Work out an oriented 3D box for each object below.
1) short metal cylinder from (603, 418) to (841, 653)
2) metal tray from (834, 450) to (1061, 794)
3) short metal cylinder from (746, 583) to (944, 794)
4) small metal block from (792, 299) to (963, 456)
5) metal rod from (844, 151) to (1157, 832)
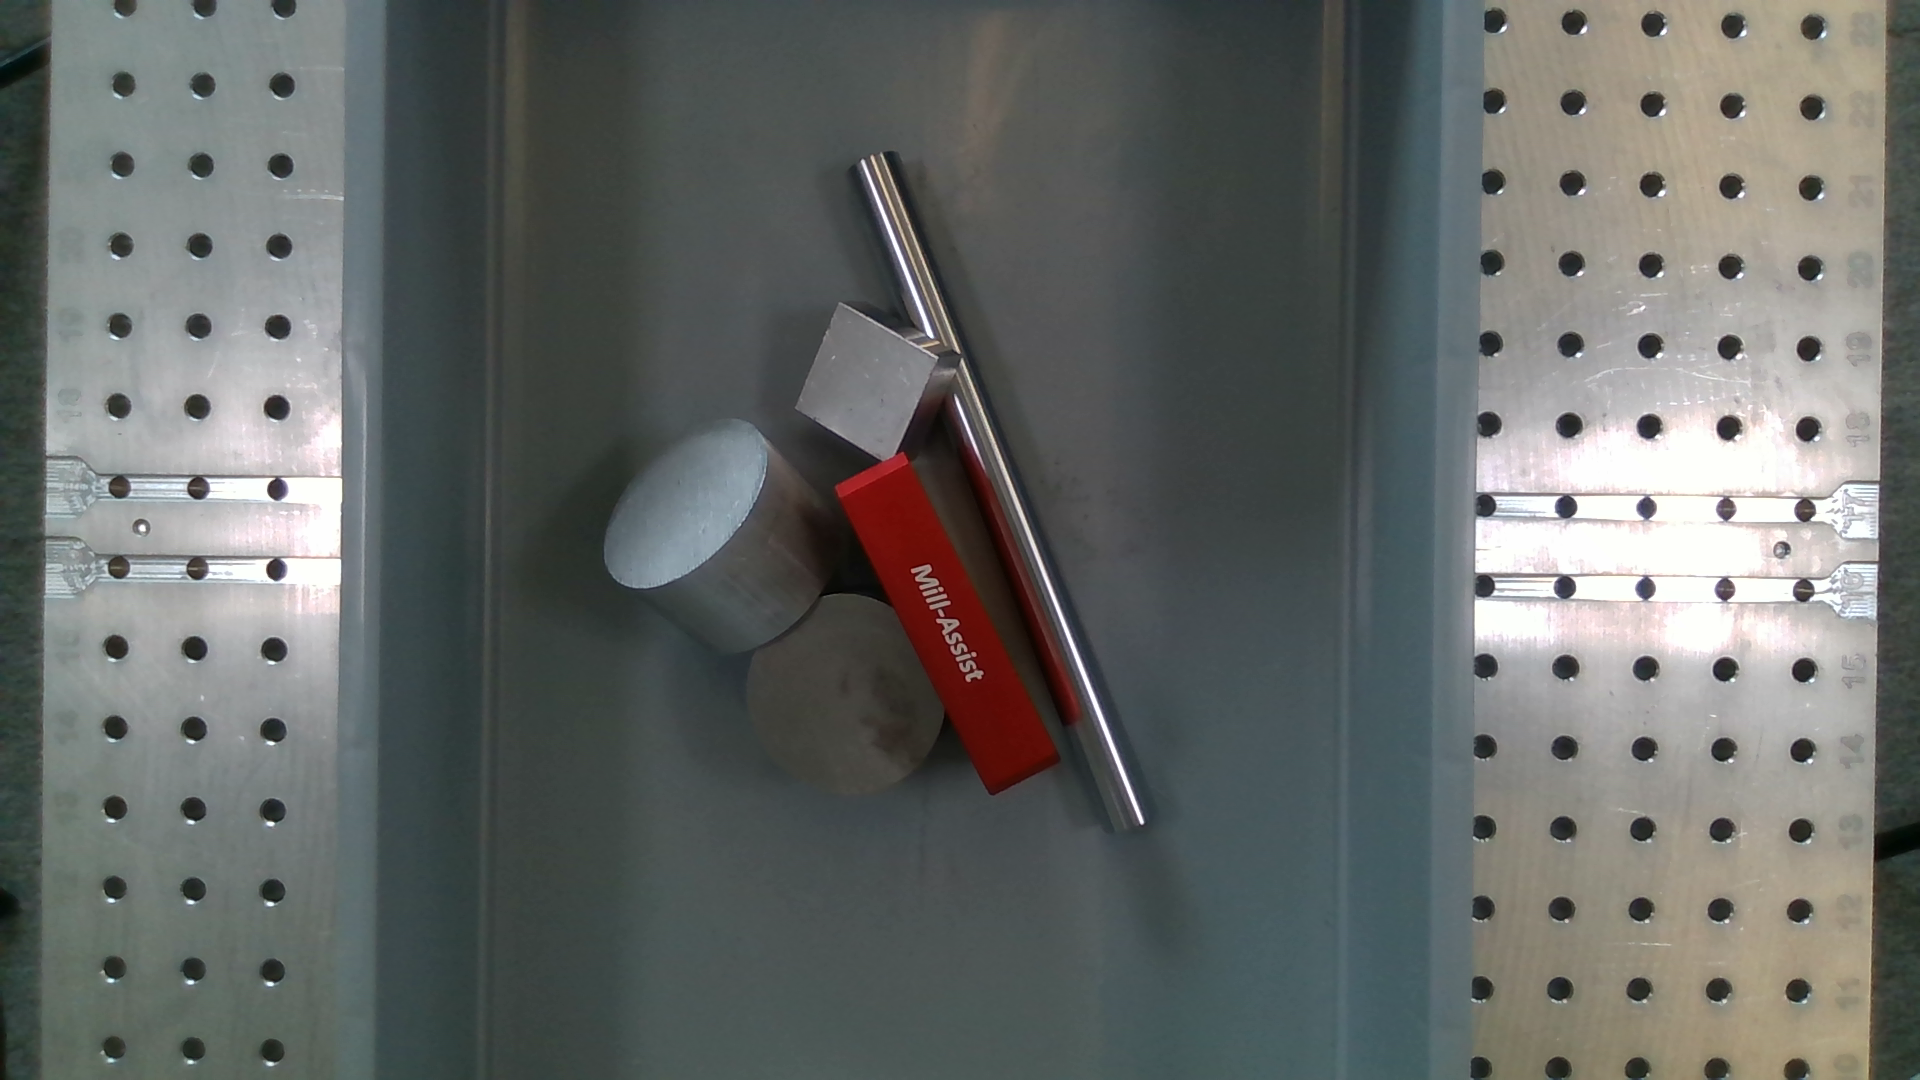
[{"bbox_3d":[-0.095,-0.002,0.552,0.080,0.080,0.050,-43,132,0],"label":"short metal cylinder"},{"bbox_3d":[-0.005,0.031,0.554,0.030,0.090,0.130,-27,90,0],"label":"metal tray"},{"bbox_3d":[-0.042,0.059,0.569,0.080,0.050,0.080,1,95,8],"label":"short metal cylinder"},{"bbox_3d":[-0.034,-0.066,0.573,0.050,0.025,0.050,31,110,15],"label":"small metal block"},{"bbox_3d":[0.017,-0.020,0.586,0.025,0.025,0.300,-22,91,0],"label":"metal rod"}]
